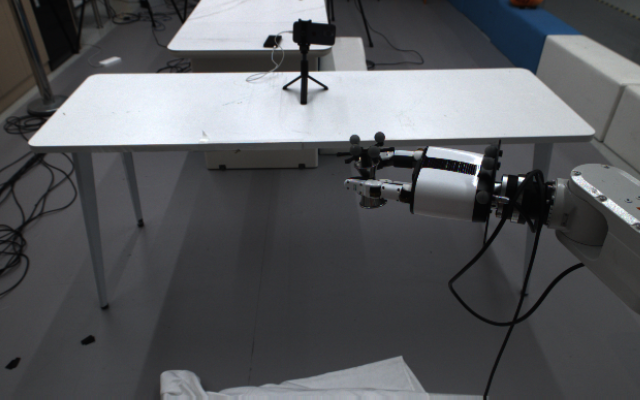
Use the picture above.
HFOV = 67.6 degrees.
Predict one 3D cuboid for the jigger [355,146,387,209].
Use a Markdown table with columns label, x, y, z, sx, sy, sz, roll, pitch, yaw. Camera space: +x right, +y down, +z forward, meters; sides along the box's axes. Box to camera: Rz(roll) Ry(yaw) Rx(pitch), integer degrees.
| label | x | y | z | sx | sy | sz | roll | pitch | yaw |
| --- | --- | --- | --- | --- | --- | --- | --- | --- | --- |
| jigger | 0.079 | -0.029 | 0.753 | 0.043 | 0.071 | 0.043 | -11 | 23 | 5 |
